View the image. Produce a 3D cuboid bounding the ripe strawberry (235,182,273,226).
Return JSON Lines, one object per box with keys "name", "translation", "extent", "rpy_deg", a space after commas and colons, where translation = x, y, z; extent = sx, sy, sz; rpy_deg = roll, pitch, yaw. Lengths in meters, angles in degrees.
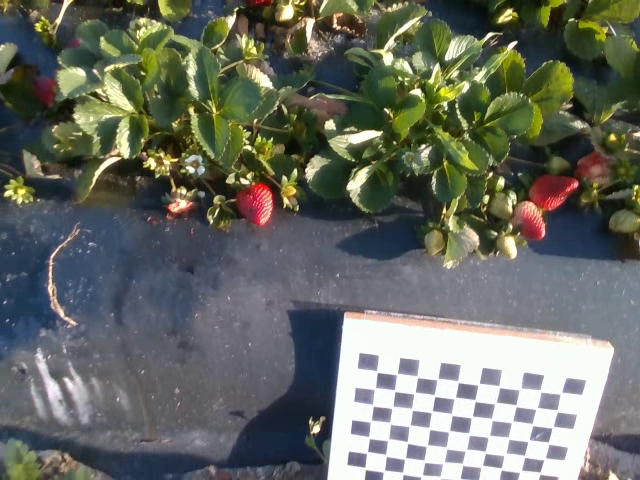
{"name": "ripe strawberry", "translation": [-0.073, -0.035, 0.615], "extent": [0.052, 0.052, 0.041], "rpy_deg": [-23, -42, 10]}
